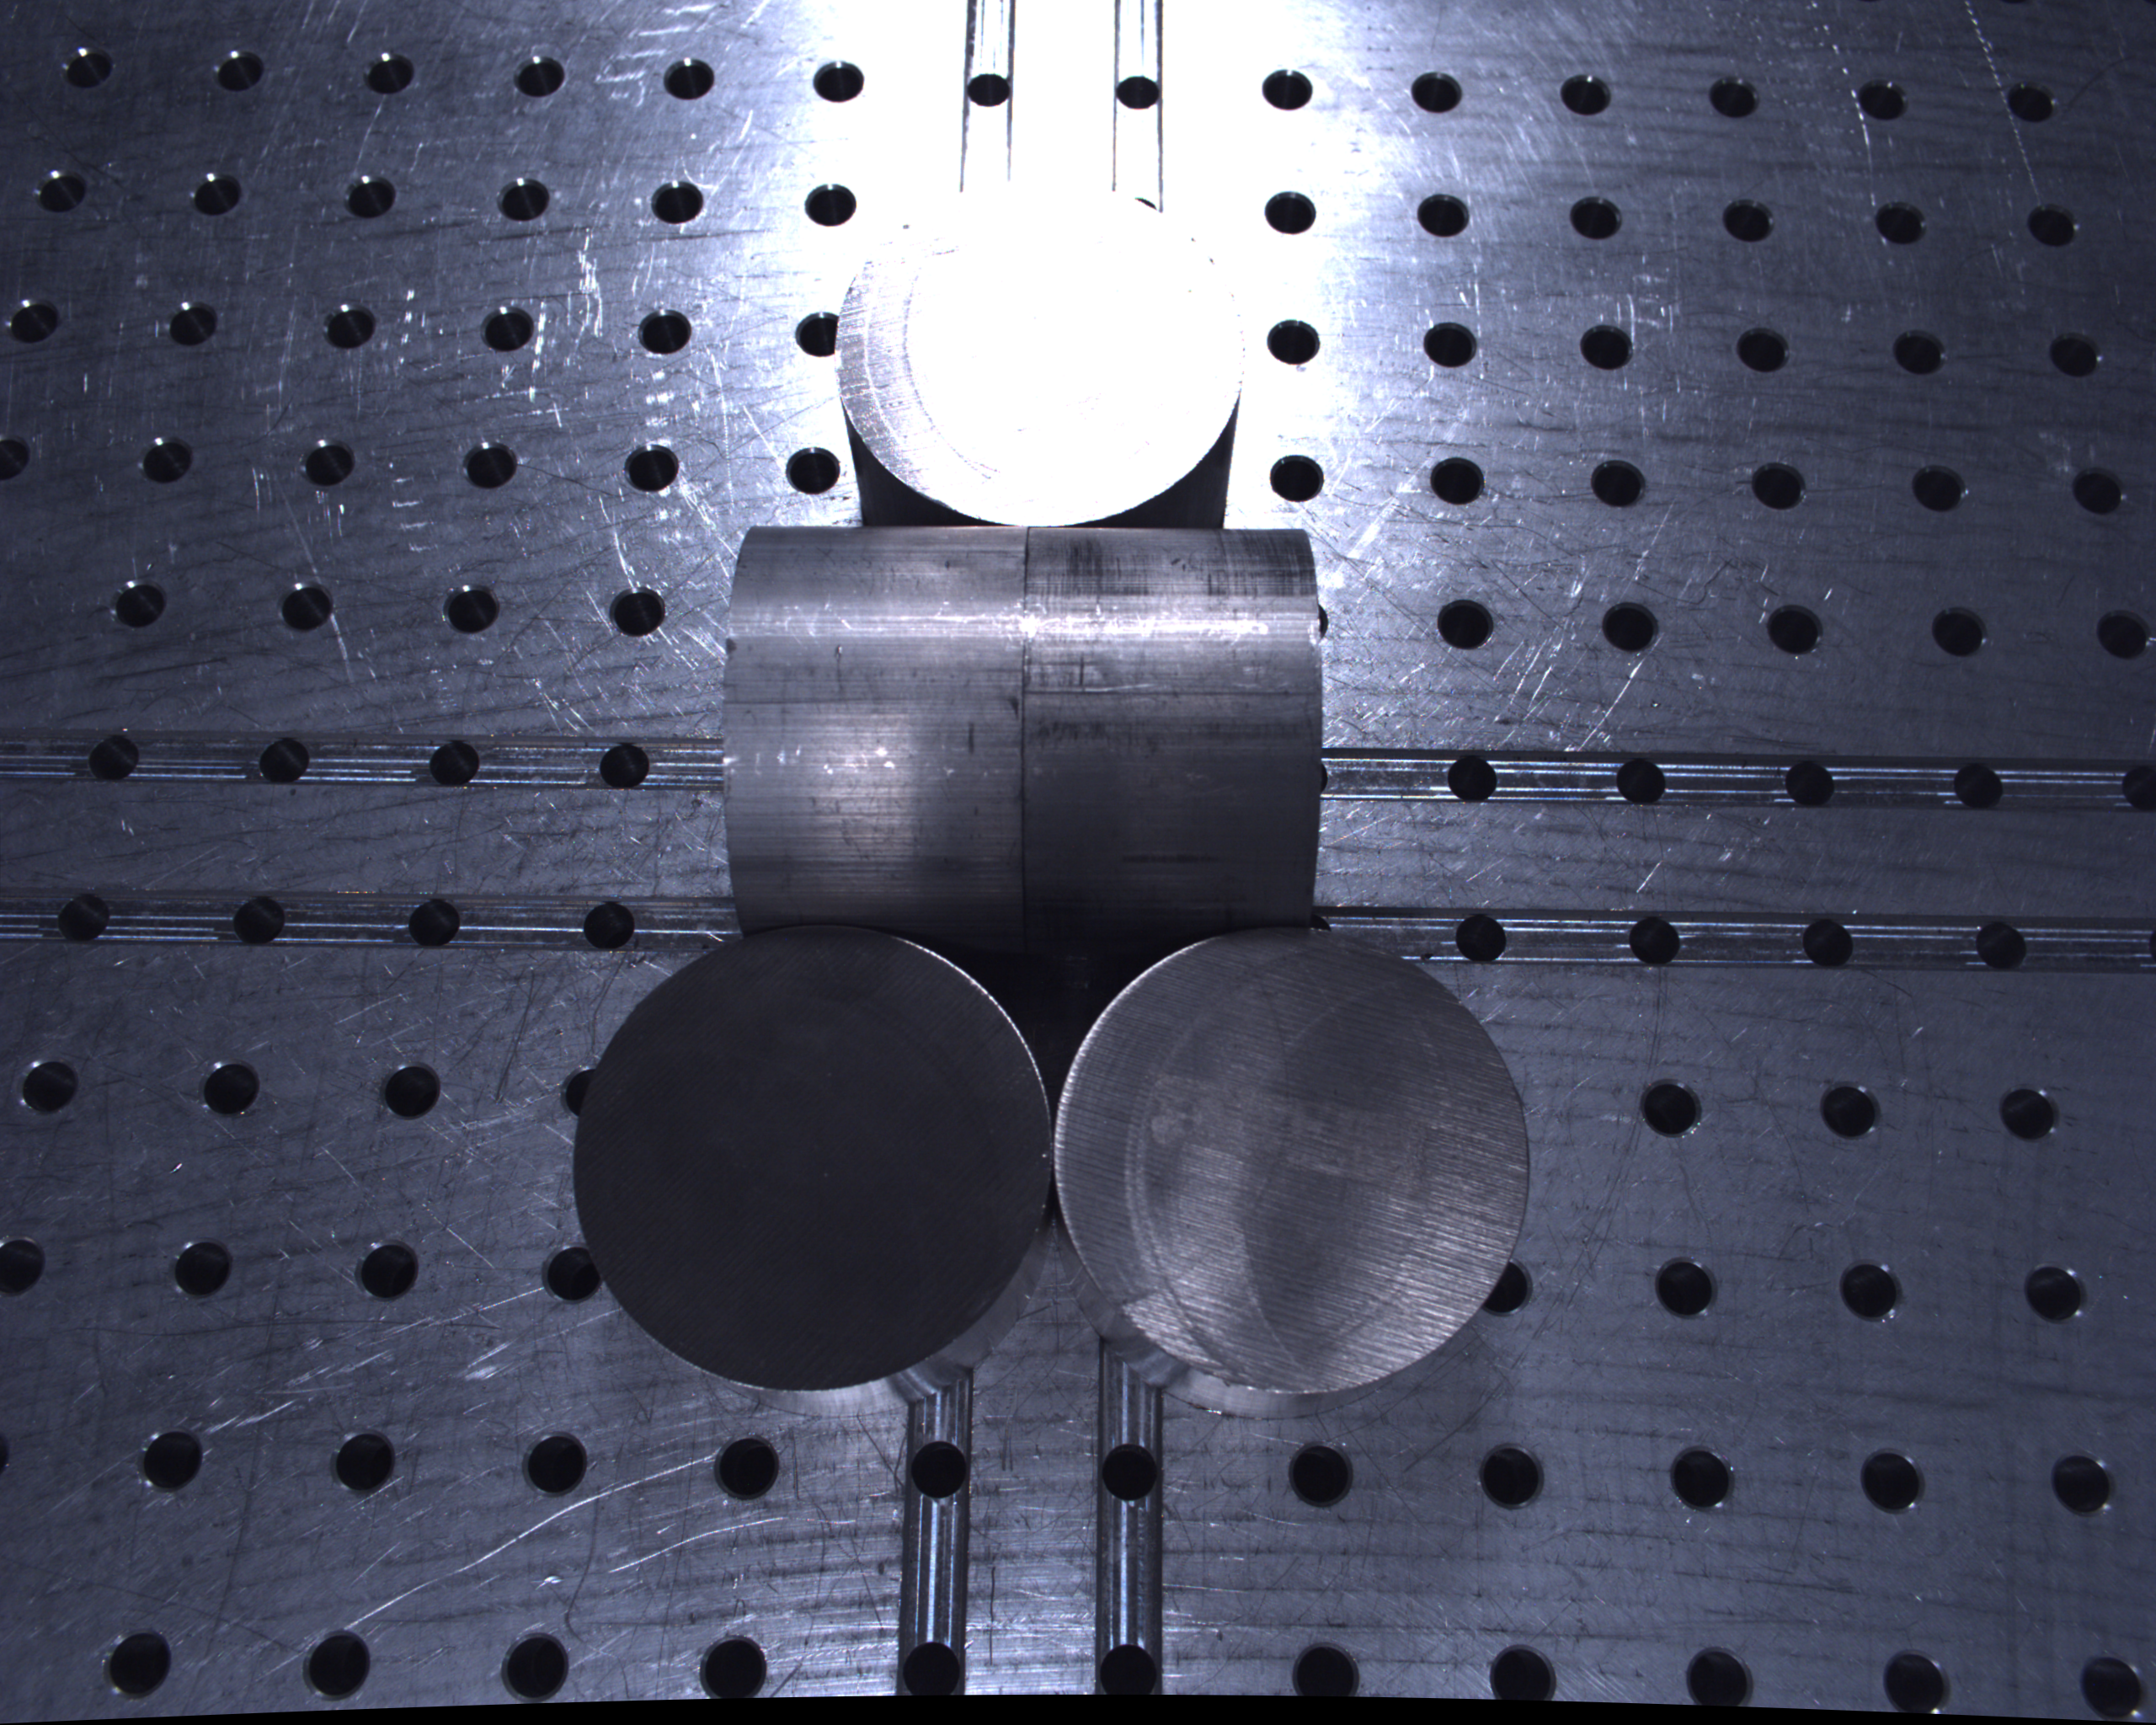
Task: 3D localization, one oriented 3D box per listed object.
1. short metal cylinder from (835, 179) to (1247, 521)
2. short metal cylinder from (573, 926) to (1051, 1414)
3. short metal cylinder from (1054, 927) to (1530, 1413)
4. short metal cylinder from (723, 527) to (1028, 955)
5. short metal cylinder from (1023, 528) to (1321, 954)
[{"bbox_3d":[-0.007,-0.093,0.432,0.081,0.050,0.080,0,70,0],"label":"short metal cylinder"},{"bbox_3d":[-0.045,0.057,0.376,0.081,0.050,0.080,0,70,0],"label":"short metal cylinder"},{"bbox_3d":[0.036,0.057,0.376,0.081,0.050,0.080,0,70,0],"label":"short metal cylinder"},{"bbox_3d":[-0.035,-0.023,0.391,0.050,0.080,0.080,0,70,0],"label":"short metal cylinder"},{"bbox_3d":[0.016,-0.022,0.392,0.050,0.080,0.080,0,70,0],"label":"short metal cylinder"}]
